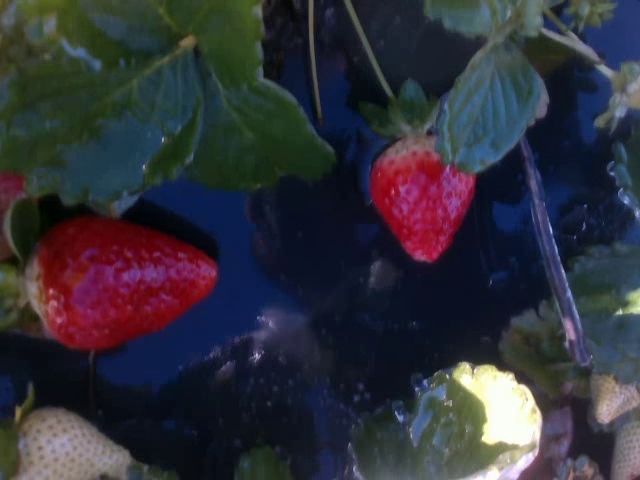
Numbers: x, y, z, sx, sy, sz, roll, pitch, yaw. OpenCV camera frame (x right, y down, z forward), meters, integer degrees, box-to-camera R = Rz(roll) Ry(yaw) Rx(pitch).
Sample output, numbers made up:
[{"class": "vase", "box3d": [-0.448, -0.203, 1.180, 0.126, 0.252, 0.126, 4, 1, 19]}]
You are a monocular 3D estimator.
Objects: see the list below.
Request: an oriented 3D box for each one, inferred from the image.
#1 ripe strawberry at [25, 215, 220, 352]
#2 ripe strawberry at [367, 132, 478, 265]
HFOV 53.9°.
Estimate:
[{"class": "ripe strawberry", "box3d": [-0.054, 0.017, 0.186, 0.056, 0.044, 0.040, -2, 30, -25]}, {"class": "ripe strawberry", "box3d": [0.035, -0.012, 0.195, 0.039, 0.047, 0.040, -12, 23, -19]}]
